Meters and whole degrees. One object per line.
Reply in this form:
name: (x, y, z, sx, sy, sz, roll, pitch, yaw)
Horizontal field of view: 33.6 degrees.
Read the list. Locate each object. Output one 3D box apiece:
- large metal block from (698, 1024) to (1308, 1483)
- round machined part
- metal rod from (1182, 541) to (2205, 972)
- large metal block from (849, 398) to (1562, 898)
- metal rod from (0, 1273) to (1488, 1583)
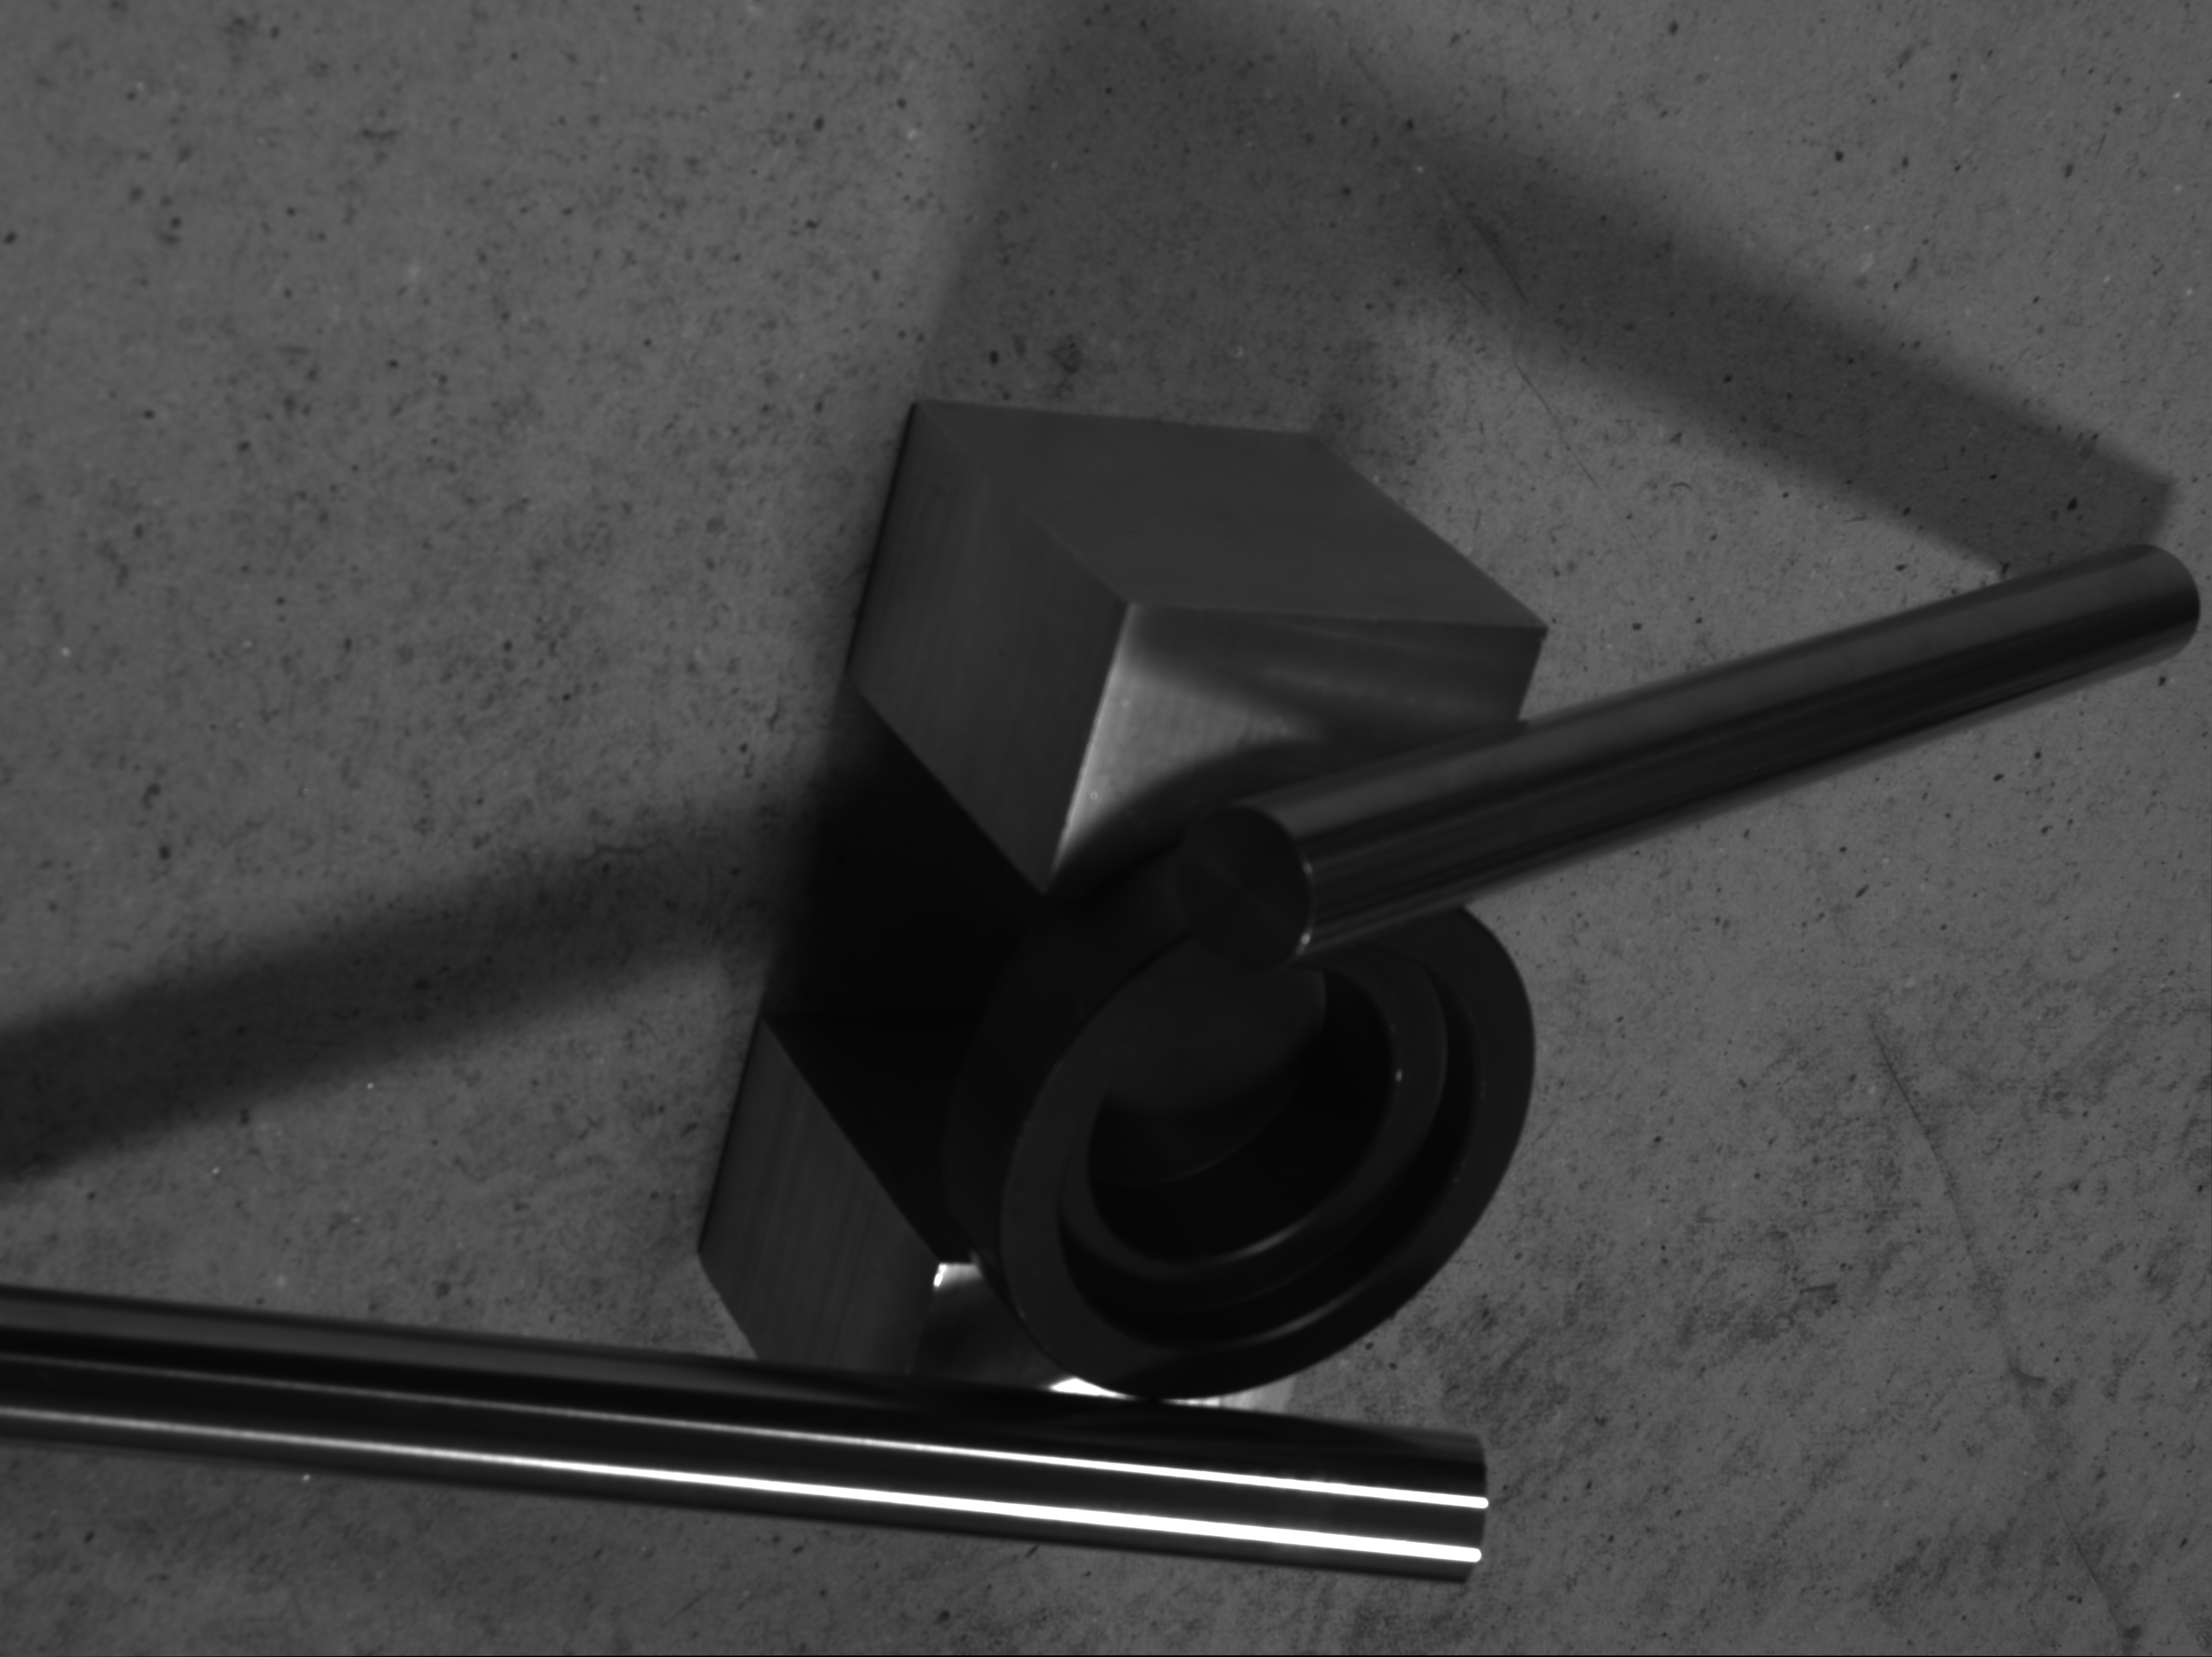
large metal block: (-0.017, 0.077, 0.653, 0.080, 0.080, 0.050, 1, 118, -31)
round machined part: (0.019, 0.042, 0.599, 0.098, 0.042, 0.098, -15, 125, -22)
metal rod: (0.117, -0.019, 0.637, 0.301, 0.025, 0.025, -16, 128, -48)
large metal block: (0.015, -0.030, 0.605, 0.080, 0.080, 0.050, 1, 118, -31)
metal rod: (-0.087, 0.093, 0.585, 0.300, 0.025, 0.025, 7, 116, -8)
